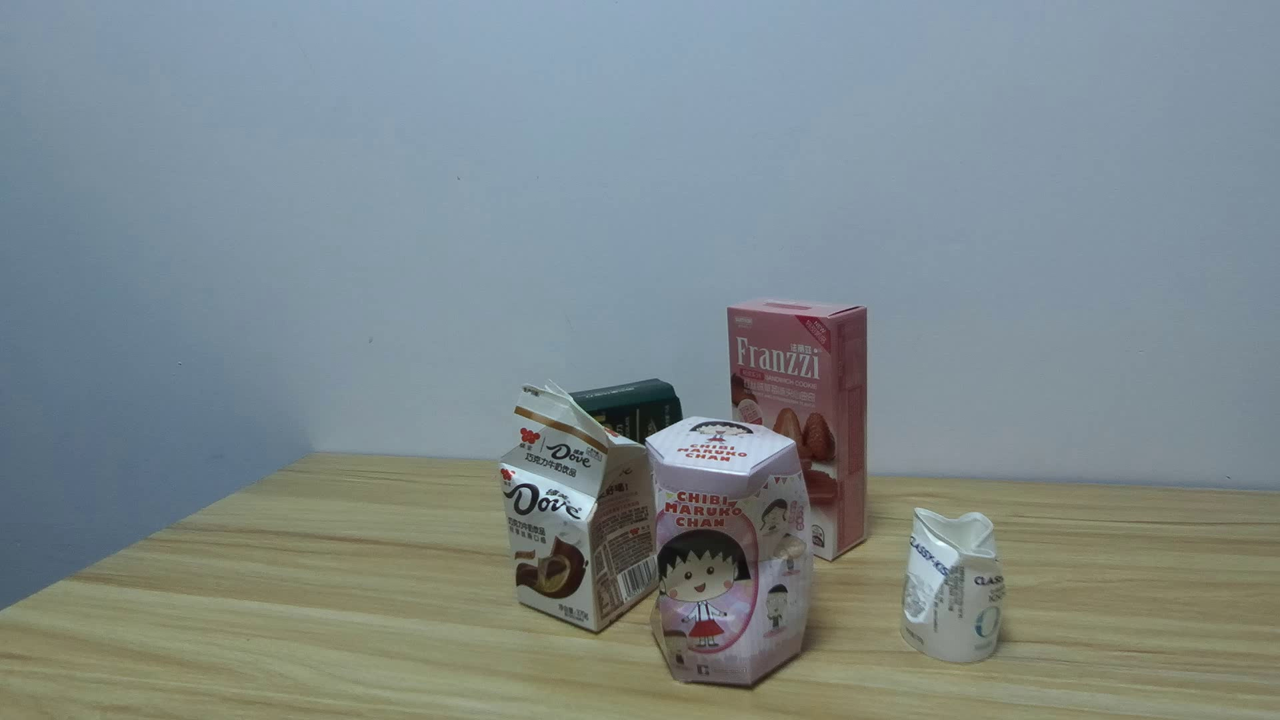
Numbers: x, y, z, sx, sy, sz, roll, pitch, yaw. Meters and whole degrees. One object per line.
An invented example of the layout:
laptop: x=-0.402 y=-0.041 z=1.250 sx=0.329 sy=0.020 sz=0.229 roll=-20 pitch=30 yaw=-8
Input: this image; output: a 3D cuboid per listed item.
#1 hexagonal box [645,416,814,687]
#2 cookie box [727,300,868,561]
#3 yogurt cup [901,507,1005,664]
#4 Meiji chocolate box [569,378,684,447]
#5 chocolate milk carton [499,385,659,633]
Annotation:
hexagonal box: x=0.044 y=0.109 z=0.412 sx=0.089 sy=0.134 sz=0.093 roll=-7 pitch=14 yaw=-19
cookie box: x=0.120 y=0.050 z=0.539 sx=0.048 sy=0.184 sz=0.095 roll=-15 pitch=17 yaw=-39
yogurt cup: x=0.185 y=0.132 z=0.416 sx=0.055 sy=0.072 sz=0.055 roll=5 pitch=16 yaw=23
Meiji chocolate box: x=-0.023 y=0.081 z=0.606 sx=0.123 sy=0.116 sz=0.058 roll=-7 pitch=16 yaw=-15
chocolate milk carton: x=-0.040 y=0.090 z=0.473 sx=0.076 sy=0.155 sz=0.074 roll=8 pitch=20 yaw=37
